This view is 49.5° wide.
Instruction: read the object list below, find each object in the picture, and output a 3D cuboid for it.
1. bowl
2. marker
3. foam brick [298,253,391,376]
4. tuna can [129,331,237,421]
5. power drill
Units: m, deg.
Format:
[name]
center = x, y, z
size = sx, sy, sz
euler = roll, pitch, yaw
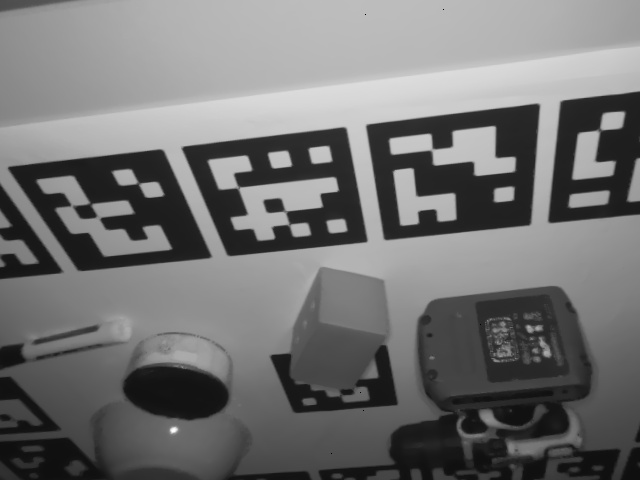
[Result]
[bowl]
center = -0.141, 0.213, 0.677
size = 0.162, 0.055, 0.160
euler = -3, 139, -2
[marker]
center = -0.207, 0.082, 0.565
size = 0.120, 0.020, 0.019
euler = -13, 130, 13
[foam brick]
center = 0.018, 0.057, 0.527
size = 0.051, 0.053, 0.077
euler = 12, 131, -8
[tuna can]
center = -0.114, 0.115, 0.585
size = 0.086, 0.034, 0.085
euler = 2, 133, 3
[power drill]
center = 0.151, 0.129, 0.585
size = 0.184, 0.058, 0.186
euler = -5, 135, 10
